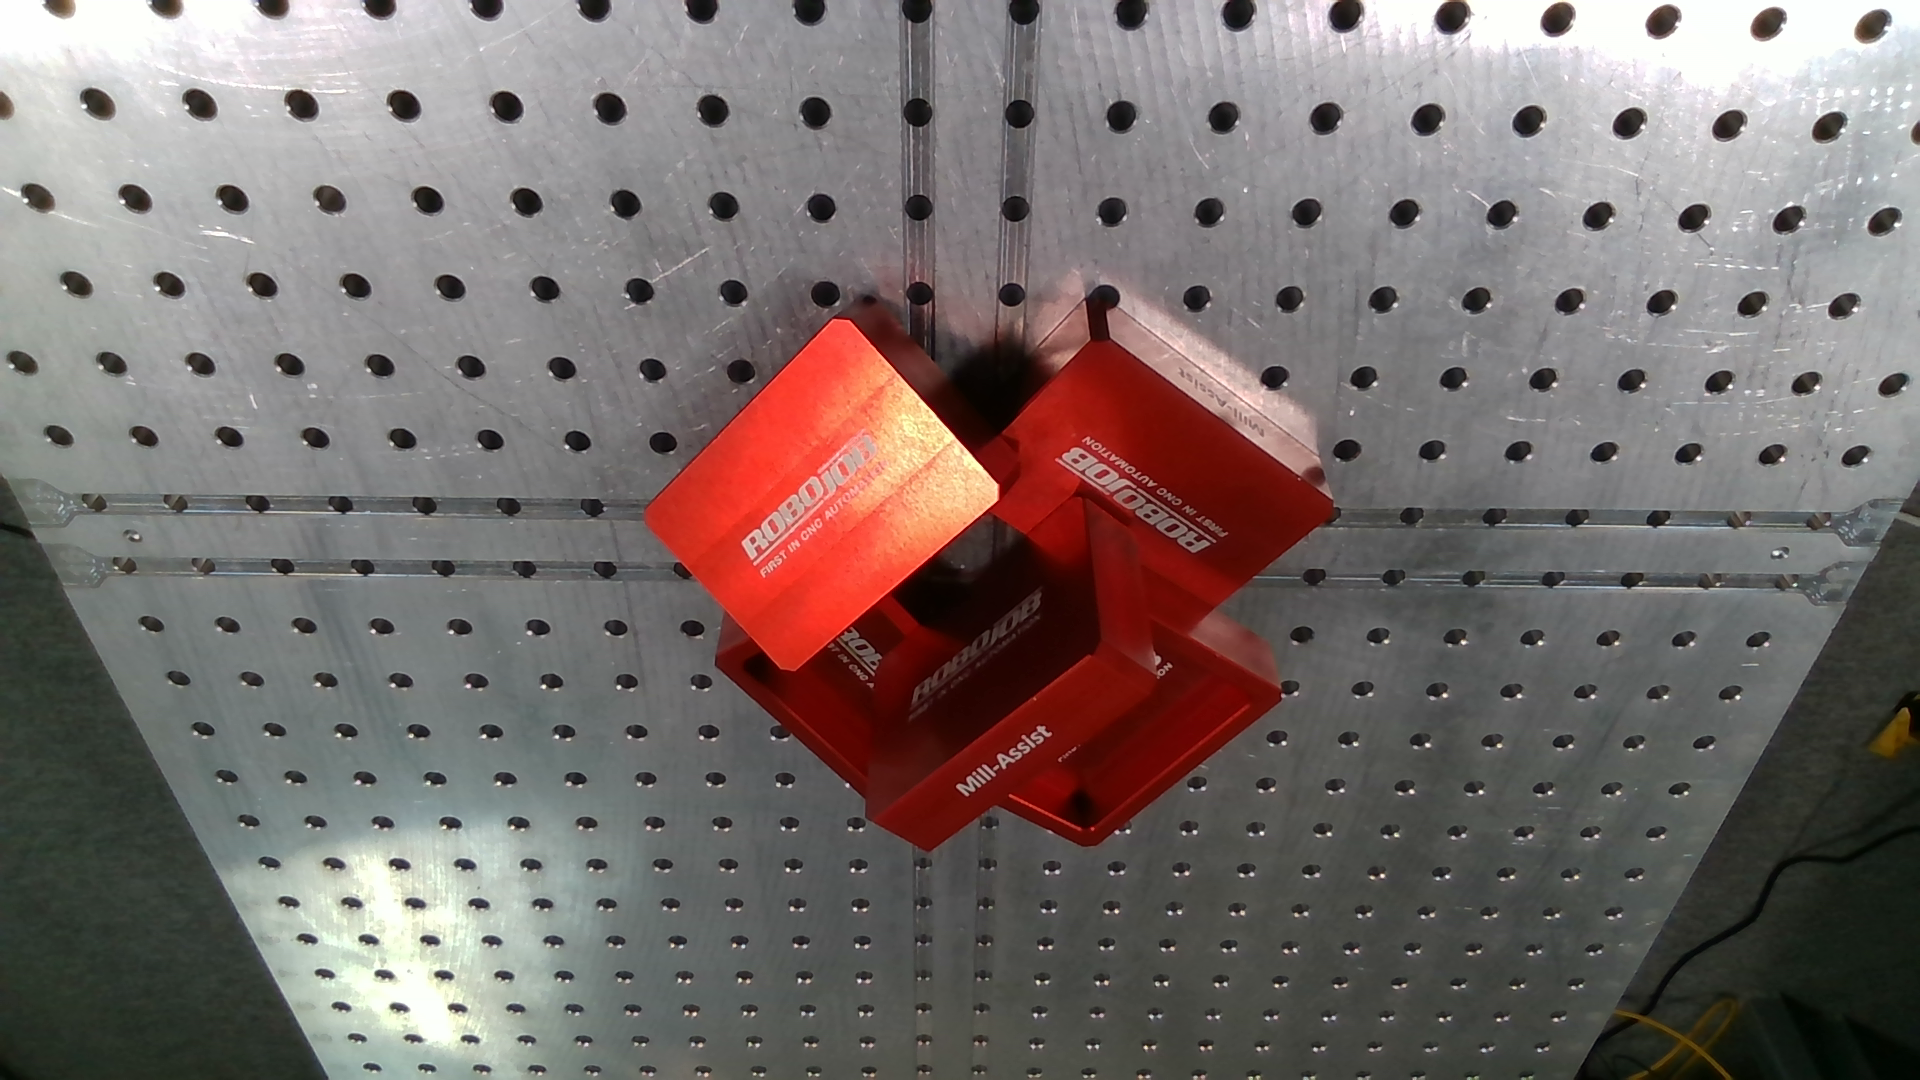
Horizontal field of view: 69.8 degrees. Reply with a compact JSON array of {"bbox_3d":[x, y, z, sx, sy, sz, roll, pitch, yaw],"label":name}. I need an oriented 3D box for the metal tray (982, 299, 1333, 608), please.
[{"bbox_3d":[0.073,-0.026,0.556,0.130,0.030,0.090,31,123,-24],"label":"metal tray"}]

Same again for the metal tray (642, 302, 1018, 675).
[{"bbox_3d":[-0.053,-0.018,0.540,0.130,0.030,0.090,-40,94,28],"label":"metal tray"}]

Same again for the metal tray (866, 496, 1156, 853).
[{"bbox_3d":[0.016,0.053,0.545,0.030,0.090,0.130,33,122,-25],"label":"metal tray"}]

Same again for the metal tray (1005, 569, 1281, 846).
[{"bbox_3d":[0.063,0.075,0.603,0.090,0.030,0.130,29,124,-22],"label":"metal tray"}]

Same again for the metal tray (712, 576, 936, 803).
[{"bbox_3d":[-0.038,0.066,0.632,0.090,0.030,0.130,-27,125,21],"label":"metal tray"}]
